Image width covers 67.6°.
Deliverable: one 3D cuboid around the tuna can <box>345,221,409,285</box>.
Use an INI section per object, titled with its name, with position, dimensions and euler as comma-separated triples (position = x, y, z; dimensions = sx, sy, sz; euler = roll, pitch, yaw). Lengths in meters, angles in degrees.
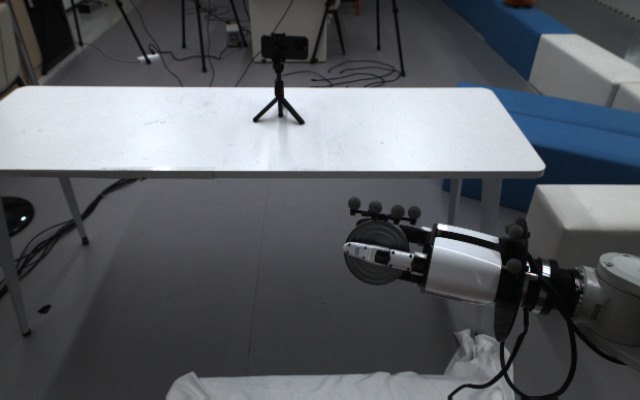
[tuna can]
position = 0.078, 0.066, 0.642
dimensions = 0.085, 0.085, 0.034
euler = 11, 1, 12
